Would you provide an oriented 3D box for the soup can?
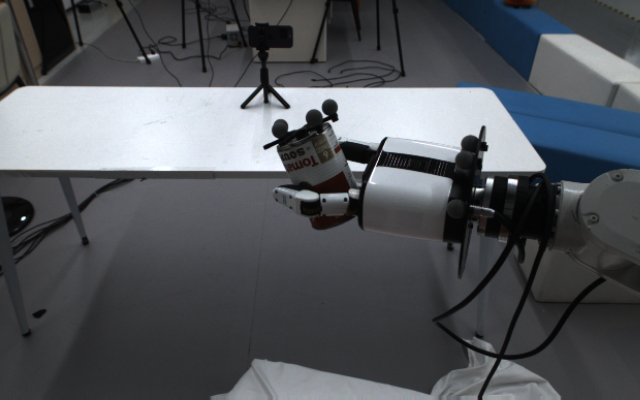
[{"bbox_3d":[0.004,-0.027,0.546,0.067,0.101,0.067,-23,16,7],"label":"soup can"}]
